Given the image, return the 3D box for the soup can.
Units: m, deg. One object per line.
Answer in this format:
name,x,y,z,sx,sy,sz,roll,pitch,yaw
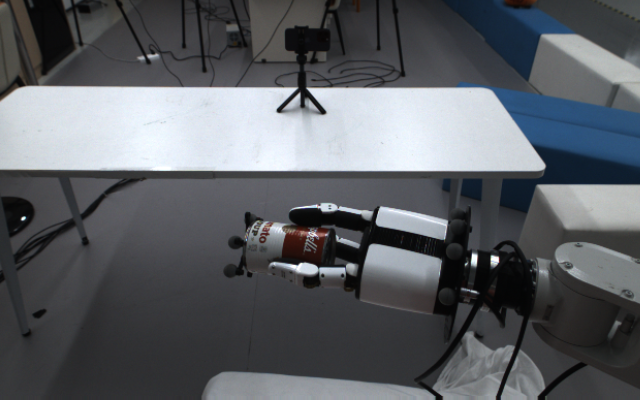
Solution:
soup can,-0.034,0.063,0.599,0.101,0.067,0.067,5,35,13
